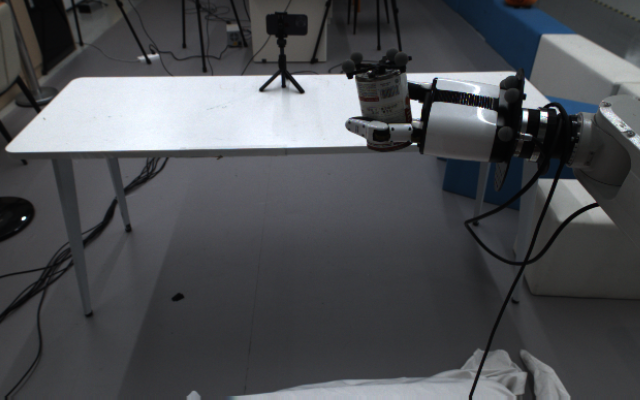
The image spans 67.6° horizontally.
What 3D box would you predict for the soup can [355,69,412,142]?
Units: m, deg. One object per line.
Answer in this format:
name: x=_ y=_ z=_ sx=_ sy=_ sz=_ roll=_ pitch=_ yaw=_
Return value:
soup can: x=0.090 y=-0.125 z=0.649 sx=0.067 sy=0.101 sz=0.067 roll=-11 pitch=28 yaw=6
